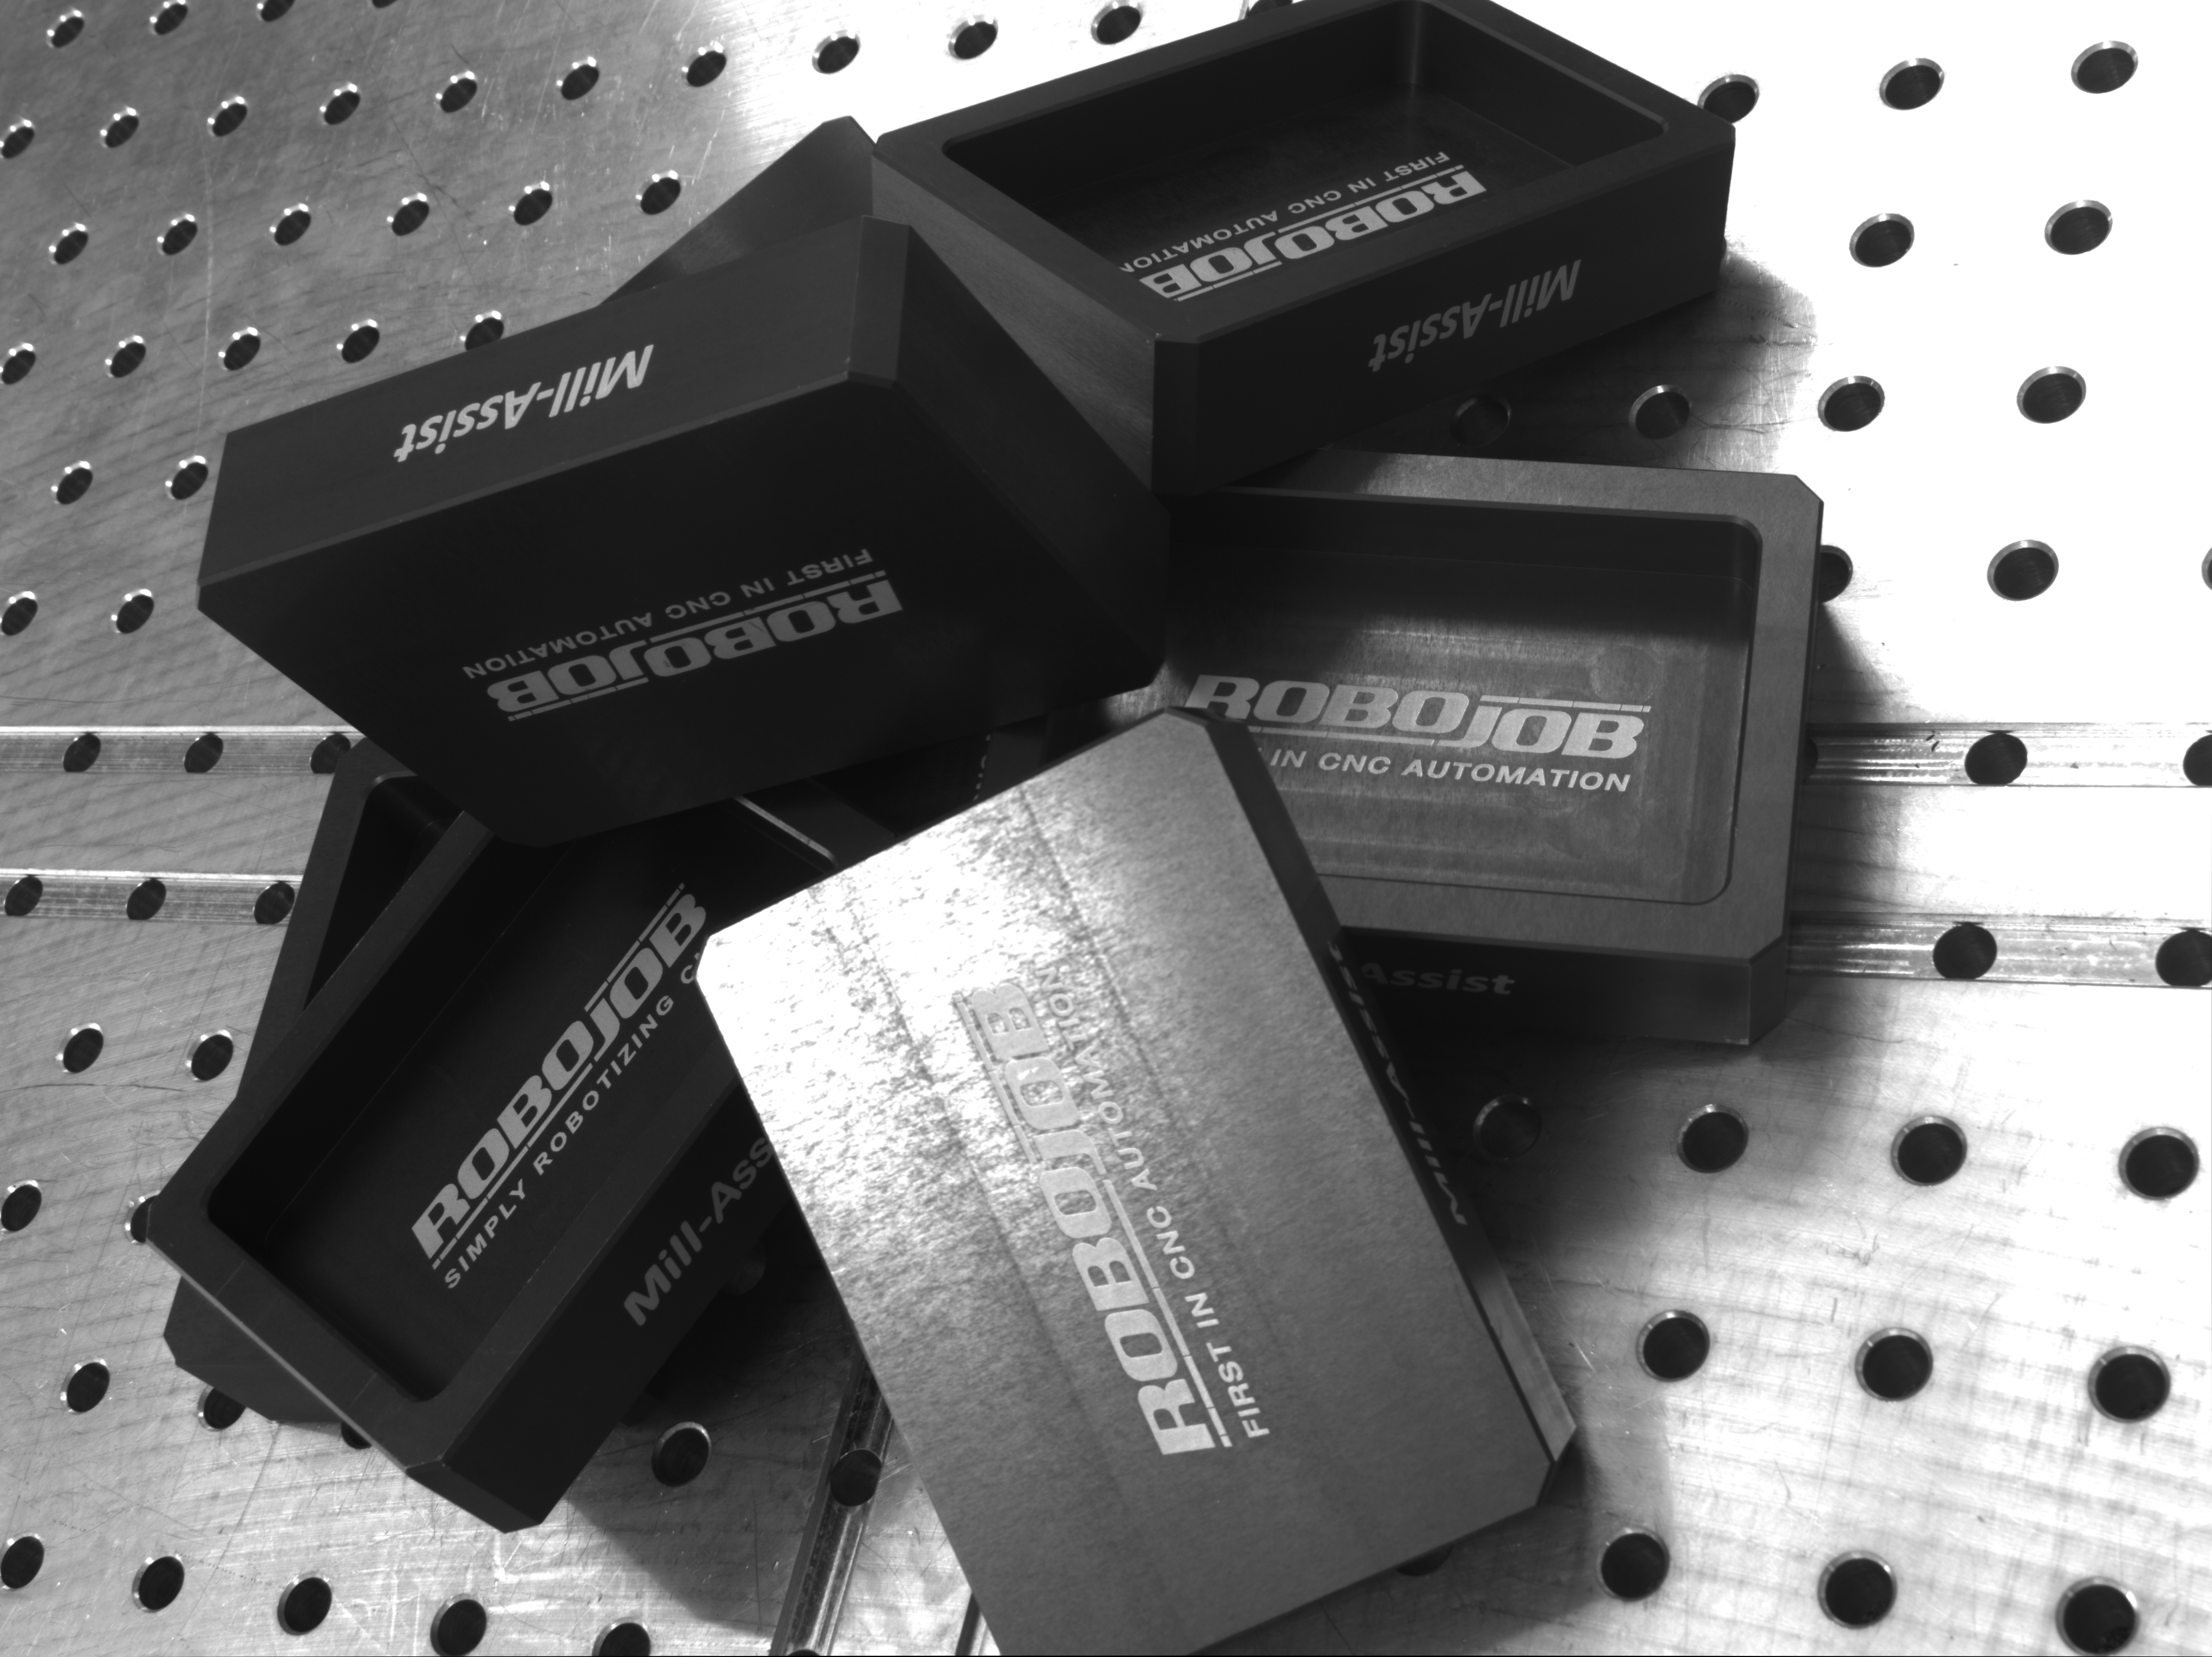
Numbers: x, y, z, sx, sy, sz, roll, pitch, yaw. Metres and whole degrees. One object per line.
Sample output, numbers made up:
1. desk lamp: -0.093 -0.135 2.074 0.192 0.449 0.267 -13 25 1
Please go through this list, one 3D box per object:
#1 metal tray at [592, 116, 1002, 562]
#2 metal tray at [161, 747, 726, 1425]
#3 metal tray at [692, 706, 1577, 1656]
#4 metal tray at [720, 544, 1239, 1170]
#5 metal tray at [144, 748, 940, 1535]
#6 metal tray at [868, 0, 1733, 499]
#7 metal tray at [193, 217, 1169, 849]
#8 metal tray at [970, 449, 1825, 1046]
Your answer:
1. metal tray: -0.060 -0.079 0.705 0.090 0.030 0.130 -39 35 2
2. metal tray: -0.114 0.044 0.681 0.090 0.030 0.130 -4 59 26
3. metal tray: 0.004 0.057 0.565 0.090 0.030 0.130 -26 85 13
4. metal tray: -0.018 -0.003 0.657 0.090 0.030 0.130 -3 58 25
5. metal tray: -0.094 0.043 0.630 0.090 0.030 0.130 30 78 38
6. metal tray: 0.035 -0.108 0.650 0.130 0.030 0.090 -24 43 -29
7. metal tray: -0.067 -0.043 0.585 0.130 0.090 0.030 -14 55 26
8. metal tray: 0.049 -0.016 0.605 0.130 0.030 0.090 4 62 11
